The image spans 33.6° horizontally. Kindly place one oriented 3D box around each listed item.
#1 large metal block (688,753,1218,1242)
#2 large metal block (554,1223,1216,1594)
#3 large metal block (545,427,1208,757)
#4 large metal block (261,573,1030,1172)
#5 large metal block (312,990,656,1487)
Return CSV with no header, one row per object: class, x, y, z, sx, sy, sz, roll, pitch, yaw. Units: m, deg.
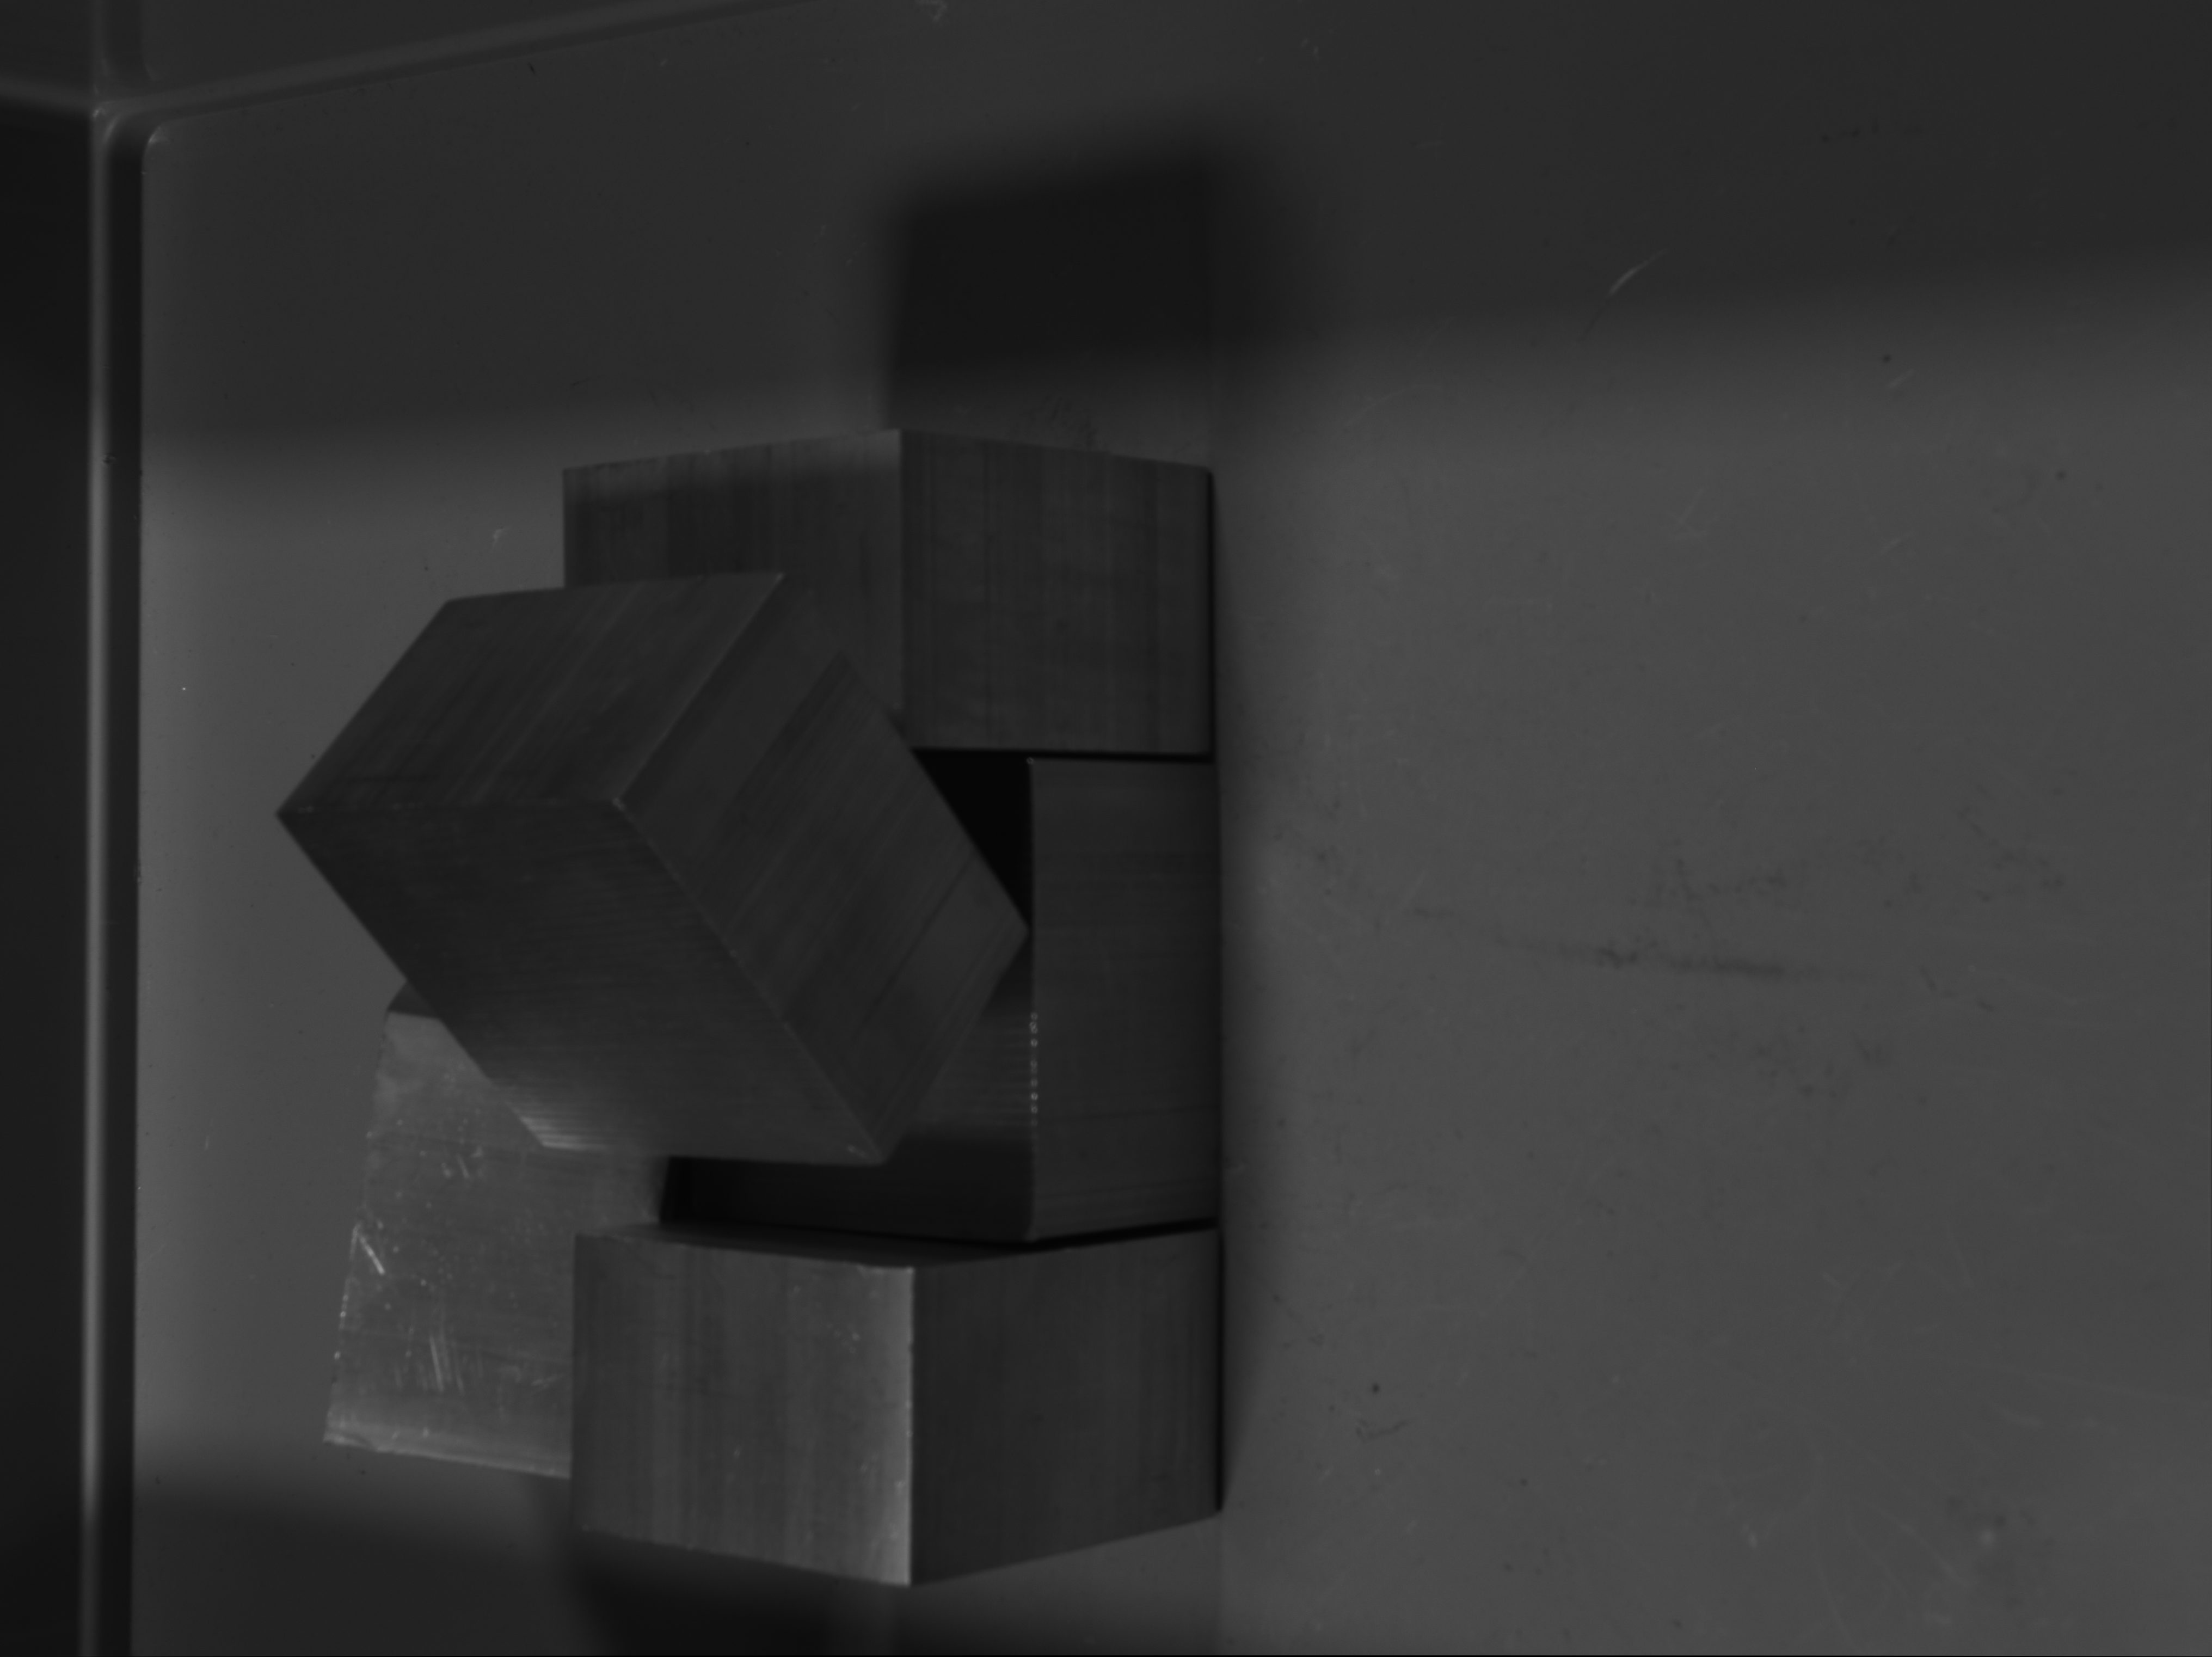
large metal block,-0.028,0.028,0.643,0.080,0.050,0.080,-1,89,39
large metal block,-0.037,0.095,0.629,0.080,0.080,0.050,0,90,39
large metal block,-0.039,-0.037,0.630,0.080,0.080,0.050,-2,89,39
large metal block,-0.073,0.008,0.586,0.080,0.080,0.050,-1,44,39
large metal block,-0.110,0.069,0.679,0.050,0.080,0.080,9,98,-4
